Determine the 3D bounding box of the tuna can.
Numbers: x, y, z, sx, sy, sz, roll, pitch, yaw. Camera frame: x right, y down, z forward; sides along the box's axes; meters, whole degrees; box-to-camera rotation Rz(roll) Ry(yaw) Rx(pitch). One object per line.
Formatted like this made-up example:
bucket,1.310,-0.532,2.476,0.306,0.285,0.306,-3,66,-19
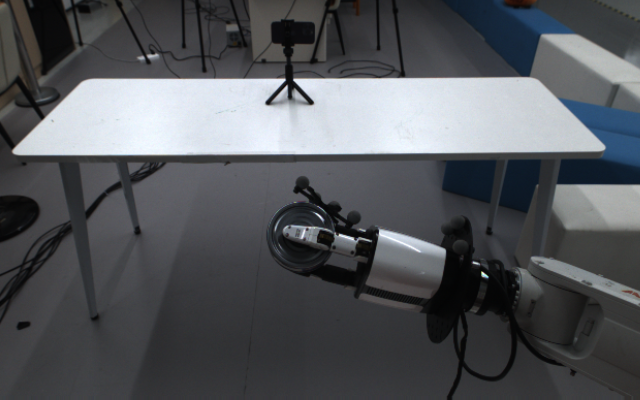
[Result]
tuna can,-0.019,0.052,0.597,0.085,0.034,0.085,0,73,0
